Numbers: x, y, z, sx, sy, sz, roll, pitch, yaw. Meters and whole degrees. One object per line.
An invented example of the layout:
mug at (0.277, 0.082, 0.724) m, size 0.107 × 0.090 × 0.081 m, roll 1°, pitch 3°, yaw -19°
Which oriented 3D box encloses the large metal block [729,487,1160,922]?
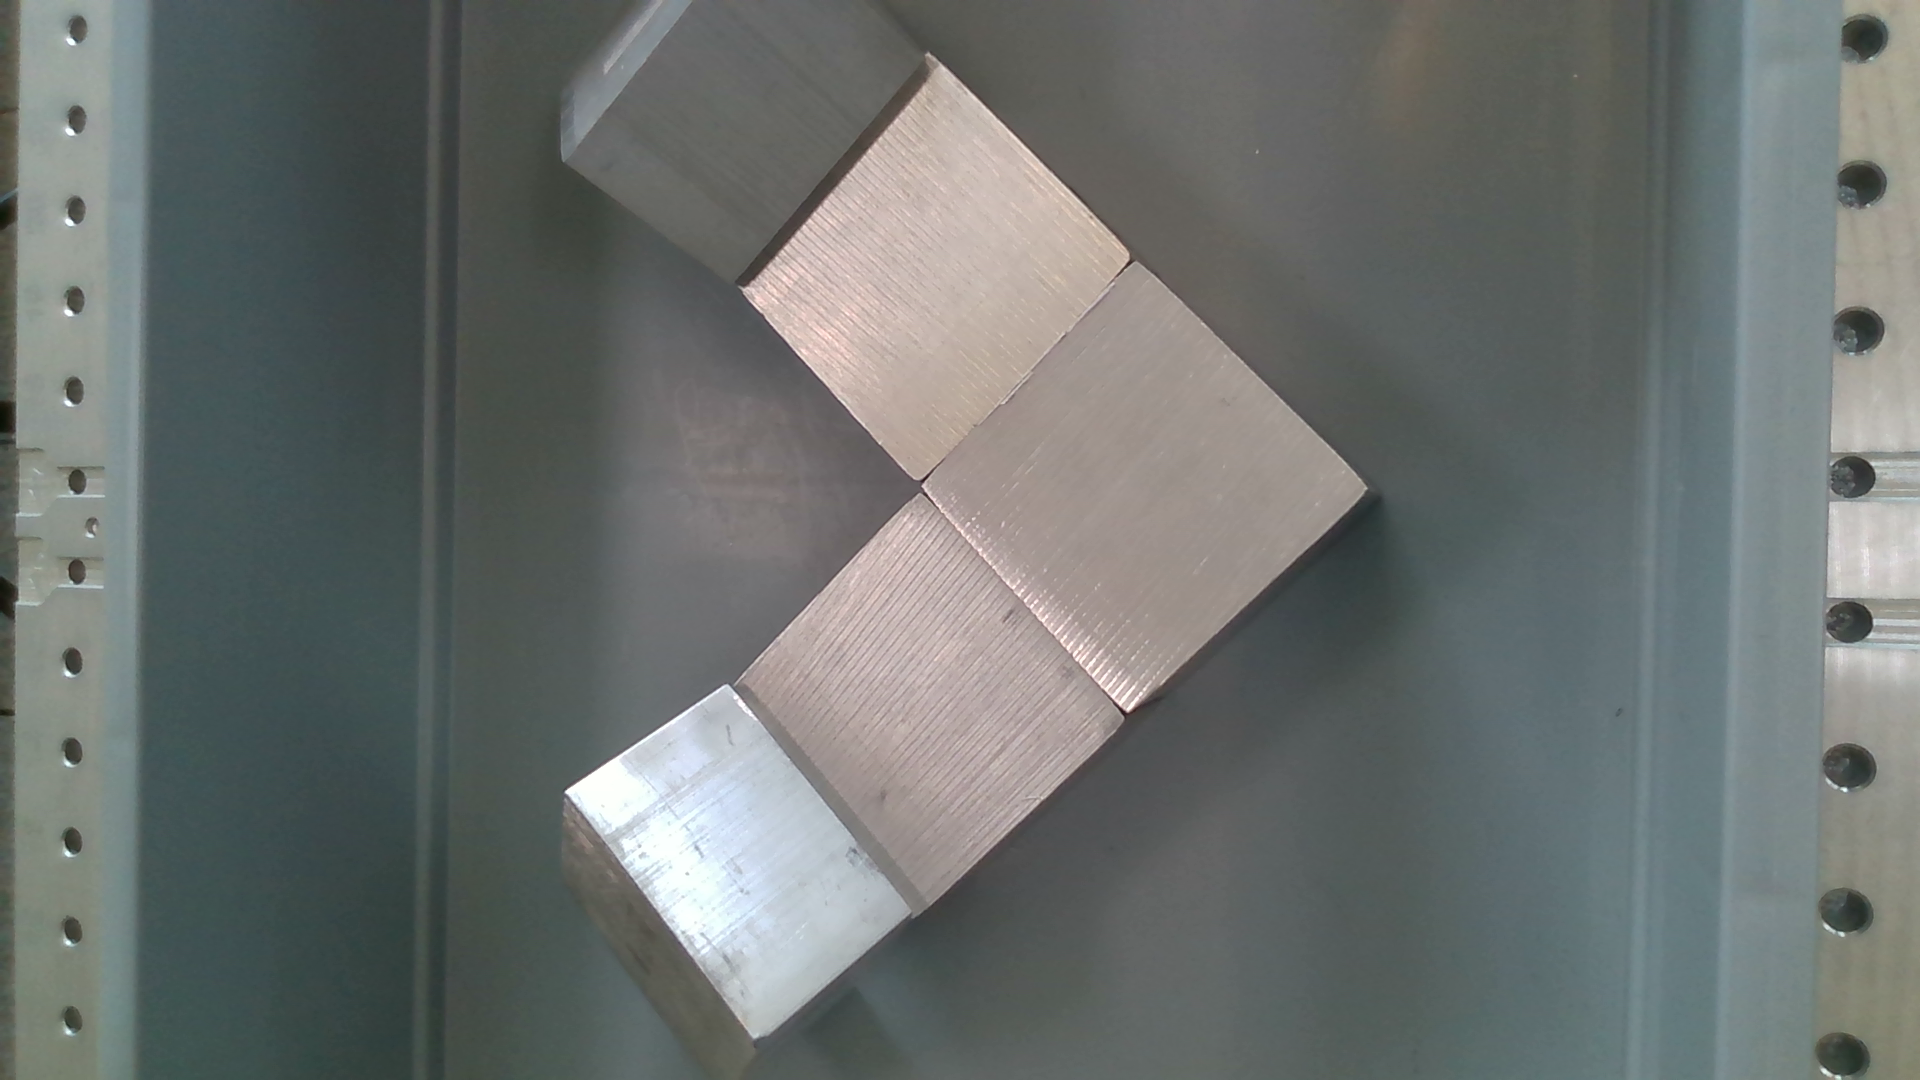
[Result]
large metal block at (-0.003, 0.043, 0.381) m, size 0.080 × 0.050 × 0.080 m, roll -46°, pitch 76°, yaw 15°

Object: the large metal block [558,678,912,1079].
large metal block at (-0.066, 0.098, 0.382) m, size 0.080 × 0.050 × 0.080 m, roll 48°, pitch 148°, yaw 14°

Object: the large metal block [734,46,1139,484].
large metal block at (-0.001, -0.071, 0.379) m, size 0.080 × 0.050 × 0.080 m, roll -46°, pitch 76°, yaw 15°

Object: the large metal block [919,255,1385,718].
large metal block at (0.051, -0.013, 0.360) m, size 0.080 × 0.050 × 0.080 m, roll -46°, pitch 76°, yaw 15°

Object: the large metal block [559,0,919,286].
large metal block at (-0.065, -0.130, 0.379) m, size 0.080 × 0.050 × 0.080 m, roll -46°, pitch 33°, yaw 15°
